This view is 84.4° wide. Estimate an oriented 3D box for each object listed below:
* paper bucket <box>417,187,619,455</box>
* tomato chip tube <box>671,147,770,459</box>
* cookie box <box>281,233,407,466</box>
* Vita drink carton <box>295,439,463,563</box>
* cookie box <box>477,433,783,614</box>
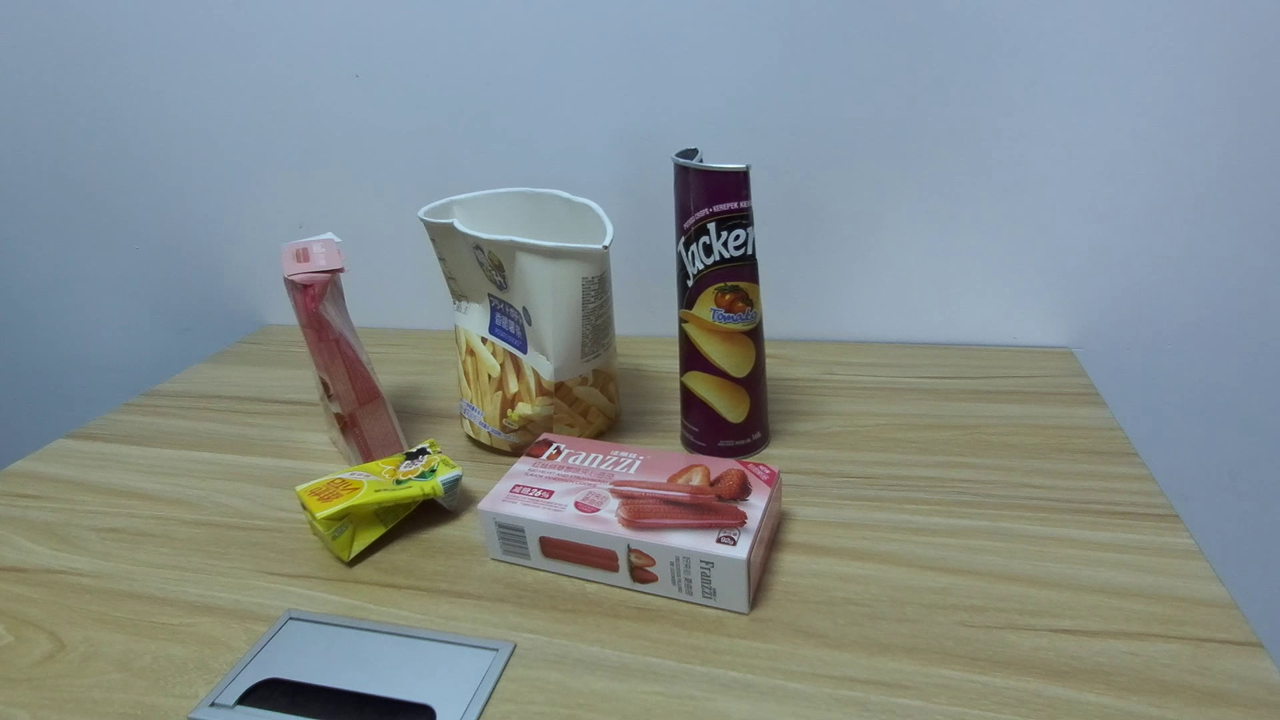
[{"bbox_3d":[-0.096,-0.035,0.614,0.217,0.199,0.148,5,27,21],"label":"paper bucket"},{"bbox_3d":[0.064,-0.040,0.552,0.076,0.235,0.078,7,26,24],"label":"tomato chip tube"},{"bbox_3d":[-0.249,-0.003,0.596,0.055,0.184,0.118,-19,29,-25],"label":"cookie box"},{"bbox_3d":[-0.191,0.103,0.531,0.109,0.042,0.086,-19,22,-35],"label":"Vita drink carton"},{"bbox_3d":[-0.004,0.105,0.482,0.184,0.048,0.096,6,28,21],"label":"cookie box"}]
